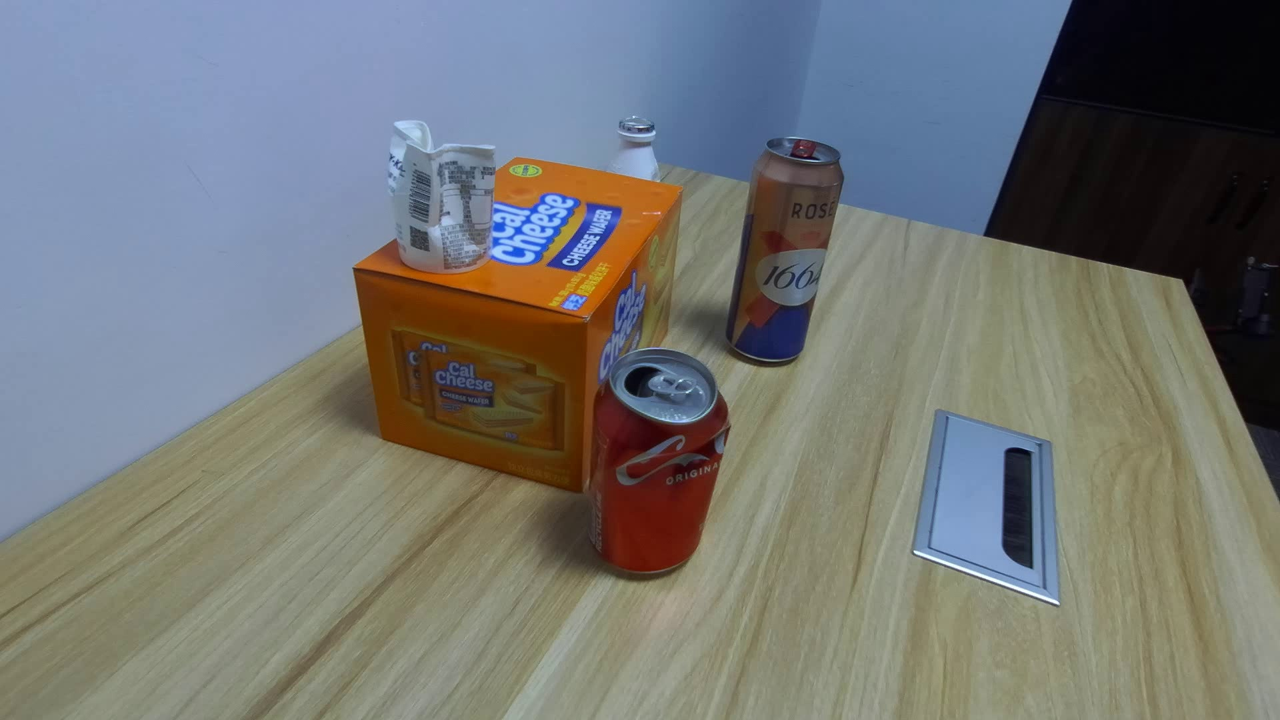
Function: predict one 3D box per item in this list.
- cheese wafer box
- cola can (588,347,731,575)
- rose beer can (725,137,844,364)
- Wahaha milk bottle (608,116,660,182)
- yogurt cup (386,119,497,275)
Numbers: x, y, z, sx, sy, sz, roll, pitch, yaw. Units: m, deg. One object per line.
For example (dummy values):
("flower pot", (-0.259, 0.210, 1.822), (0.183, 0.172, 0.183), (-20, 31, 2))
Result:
("cheese wafer box", (-0.069, -0.040, 0.505), (0.148, 0.129, 0.222), (14, 35, 11))
("cola can", (0.009, 0.054, 0.381), (0.072, 0.117, 0.065), (-8, 35, -19))
("rose beer can", (0.111, -0.081, 0.553), (0.069, 0.169, 0.068), (5, 32, -3))
("Wahaha milk bottle", (-0.009, -0.141, 0.652), (0.053, 0.136, 0.053), (5, 45, -5))
("yogurt cup", (-0.112, -0.092, 0.397), (0.055, 0.072, 0.054), (-12, 40, -24))
